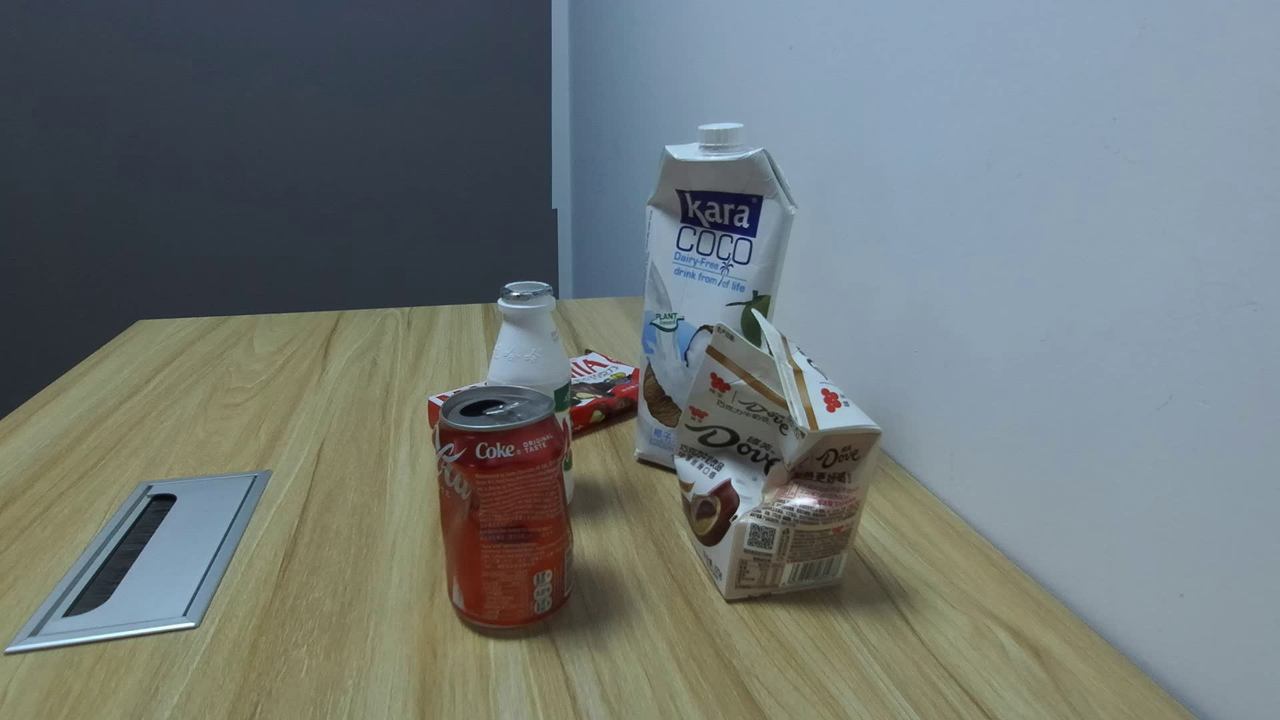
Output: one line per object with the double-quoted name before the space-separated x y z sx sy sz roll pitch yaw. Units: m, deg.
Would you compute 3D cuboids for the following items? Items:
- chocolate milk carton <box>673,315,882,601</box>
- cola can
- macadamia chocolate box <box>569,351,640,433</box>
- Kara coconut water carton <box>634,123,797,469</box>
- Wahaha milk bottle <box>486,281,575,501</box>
"chocolate milk carton" 0.070 0.054 0.382 0.077 0.155 0.089 -10 37 -15
"cola can" -0.068 0.074 0.362 0.066 0.117 0.065 -6 21 -17
"macadamia chocolate box" -0.072 0.034 0.596 0.105 0.028 0.184 20 27 41
"Kara coconut water carton" 0.047 -0.039 0.489 0.114 0.238 0.069 16 24 28
"Wahaha milk bottle" -0.069 0.024 0.447 0.056 0.148 0.056 1 24 0
